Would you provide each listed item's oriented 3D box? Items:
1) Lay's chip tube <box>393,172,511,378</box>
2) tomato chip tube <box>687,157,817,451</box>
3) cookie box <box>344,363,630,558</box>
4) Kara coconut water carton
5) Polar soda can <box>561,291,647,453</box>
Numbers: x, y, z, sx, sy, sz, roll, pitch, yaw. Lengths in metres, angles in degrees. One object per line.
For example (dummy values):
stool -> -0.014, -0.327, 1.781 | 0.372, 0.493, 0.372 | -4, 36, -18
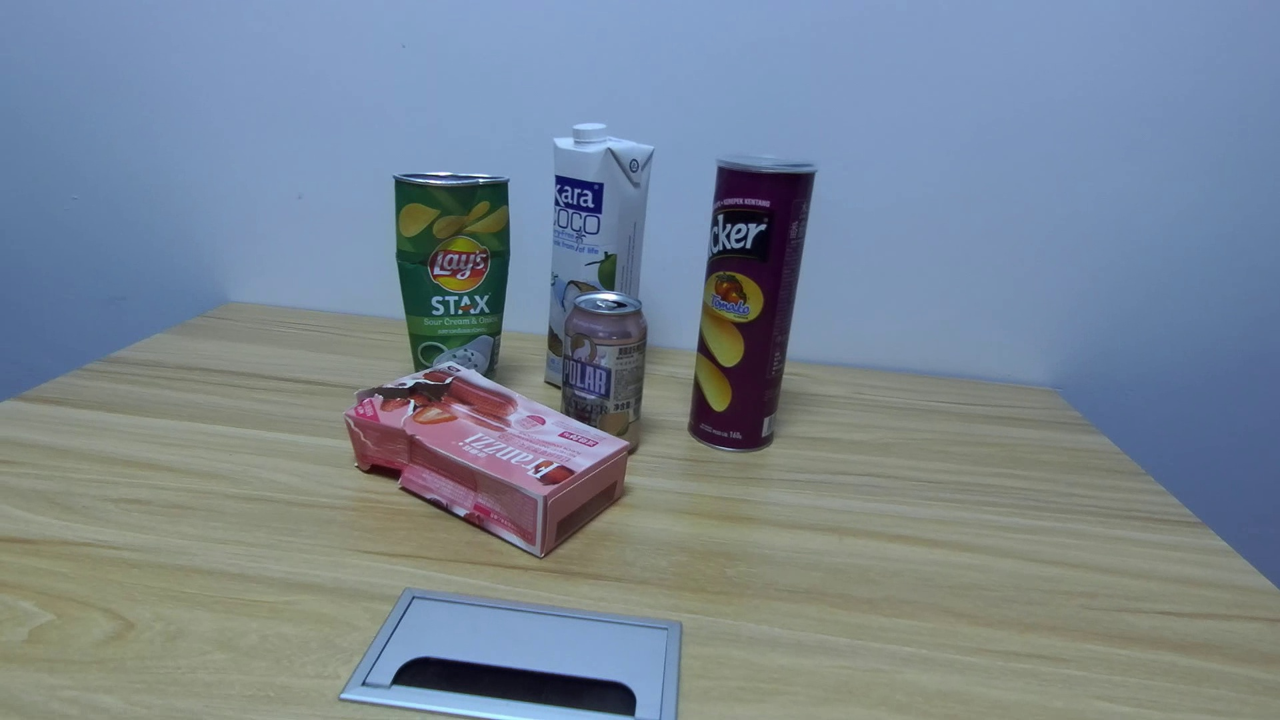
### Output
Lay's chip tube -> -0.160, -0.058, 0.615 | 0.068, 0.199, 0.075 | 18, 27, 27
tomato chip tube -> 0.090, -0.043, 0.584 | 0.078, 0.234, 0.078 | 4, 20, -1
cookie box -> -0.110, 0.062, 0.514 | 0.185, 0.059, 0.105 | 17, 28, 27
Kara coconut water carton -> -0.041, -0.090, 0.656 | 0.076, 0.245, 0.075 | 23, 27, 38
Polar soda can -> -0.029, 0.012, 0.570 | 0.067, 0.125, 0.067 | 4, 21, -1
